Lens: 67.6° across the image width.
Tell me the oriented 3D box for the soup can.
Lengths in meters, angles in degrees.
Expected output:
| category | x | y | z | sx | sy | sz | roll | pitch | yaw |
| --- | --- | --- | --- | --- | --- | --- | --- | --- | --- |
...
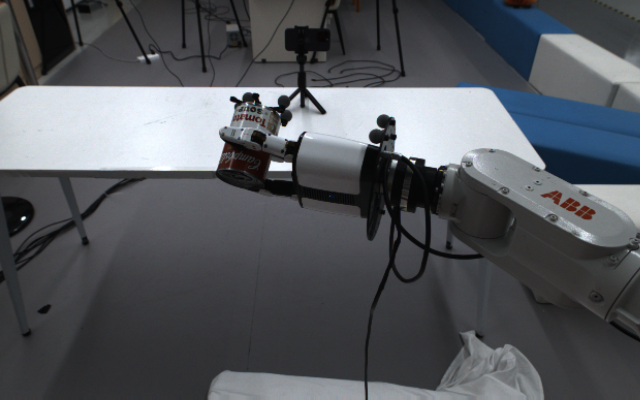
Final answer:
| category | x | y | z | sx | sy | sz | roll | pitch | yaw |
| --- | --- | --- | --- | --- | --- | --- | --- | --- | --- |
| soup can | -0.096 | -0.072 | 0.662 | 0.067 | 0.067 | 0.101 | 9 | 72 | 10 |
